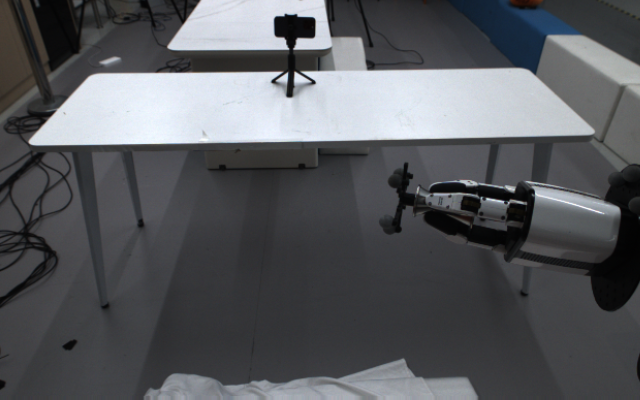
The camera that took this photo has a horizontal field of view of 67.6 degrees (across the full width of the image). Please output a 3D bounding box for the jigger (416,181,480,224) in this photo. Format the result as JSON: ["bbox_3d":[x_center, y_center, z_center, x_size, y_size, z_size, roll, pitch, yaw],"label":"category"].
[{"bbox_3d":[0.153,0.003,0.569,0.071,0.043,0.043,10,35,16],"label":"jigger"}]
